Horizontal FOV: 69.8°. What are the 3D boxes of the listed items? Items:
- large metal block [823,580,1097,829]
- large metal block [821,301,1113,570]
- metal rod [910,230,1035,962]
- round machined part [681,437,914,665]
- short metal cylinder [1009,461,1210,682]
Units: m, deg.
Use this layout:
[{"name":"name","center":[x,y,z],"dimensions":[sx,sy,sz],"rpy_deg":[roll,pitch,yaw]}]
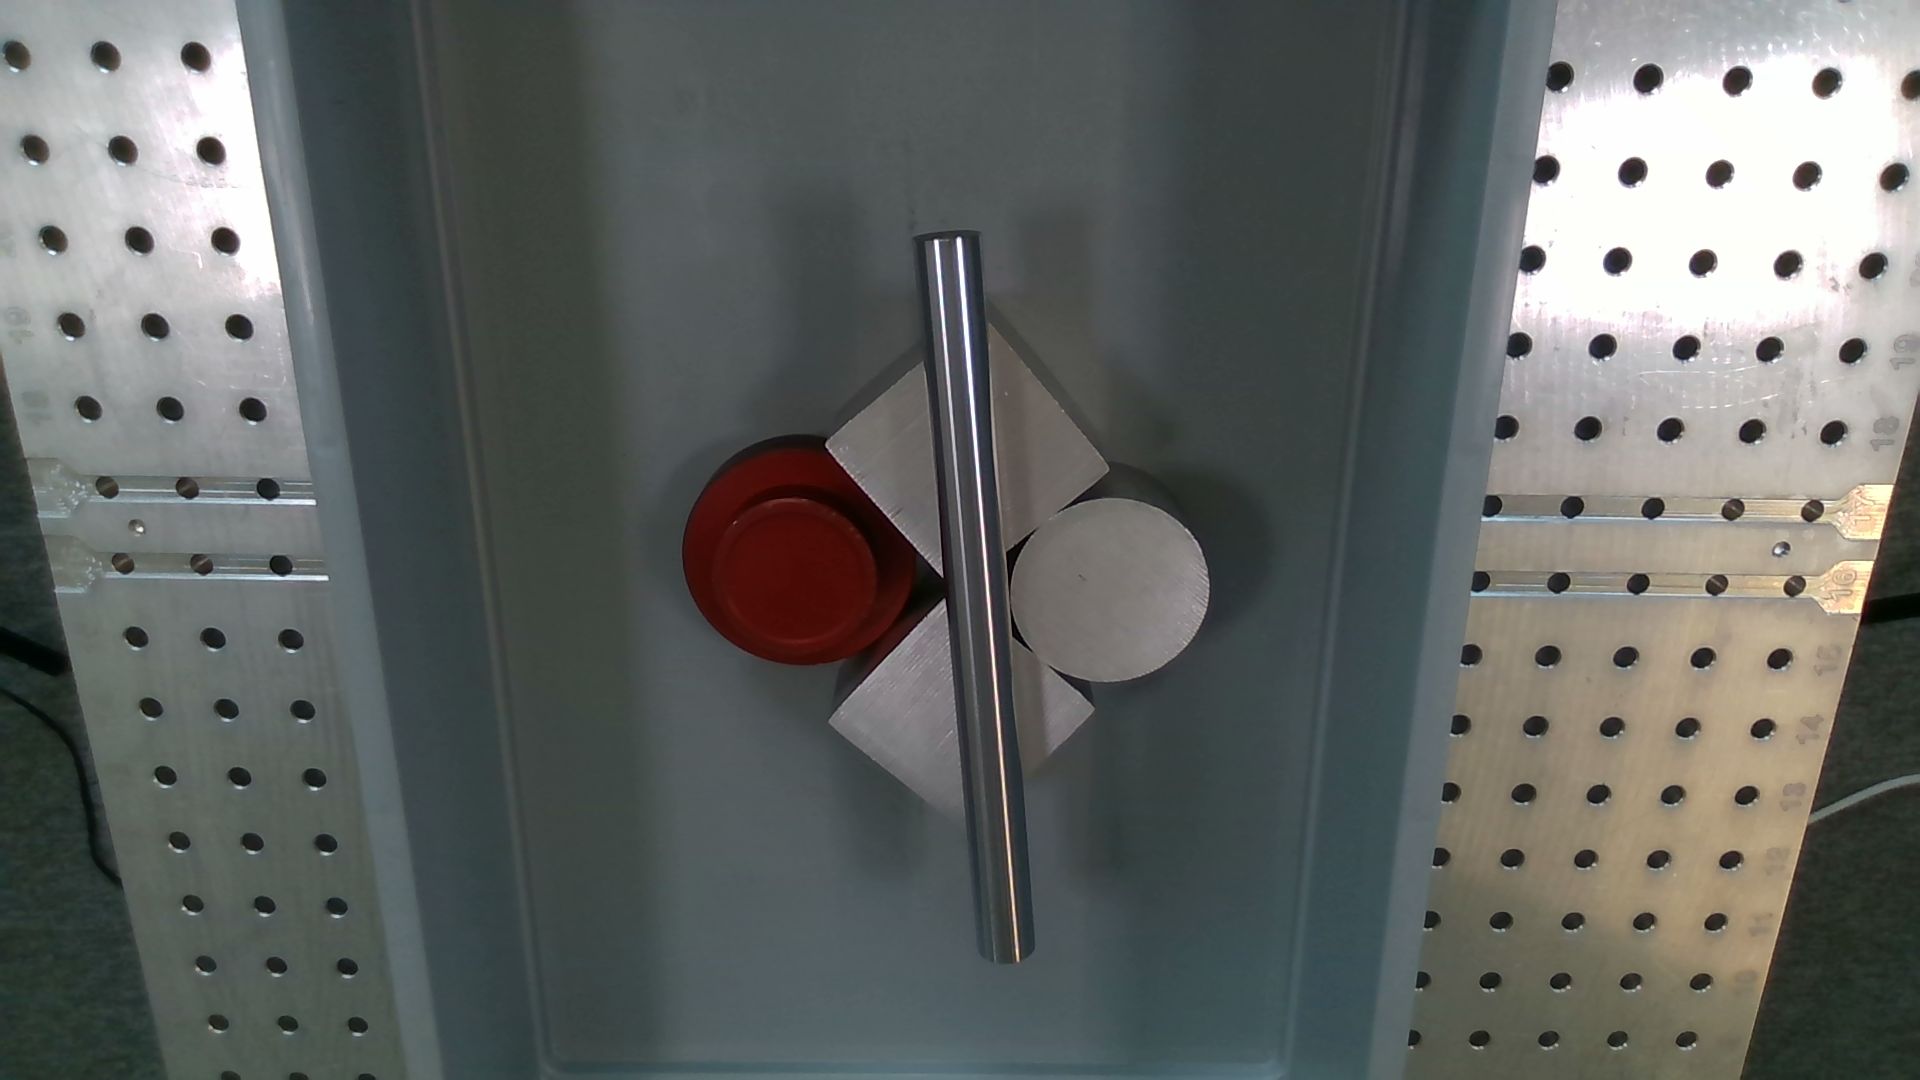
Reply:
[{"name":"large metal block","center":[0.000,0.065,0.592],"dimensions":[0.080,0.050,0.080],"rpy_deg":[41,105,-12]},{"name":"large metal block","center":[0.003,-0.041,0.555],"dimensions":[0.080,0.050,0.080],"rpy_deg":[-37,106,14]},{"name":"metal rod","center":[0.007,0.033,0.541],"dimensions":[0.025,0.025,0.301],"rpy_deg":[-4,110,2]},{"name":"round machined part","center":[-0.068,0.008,0.577],"dimensions":[0.098,0.042,0.098],"rpy_deg":[0,110,0]},{"name":"short metal cylinder","center":[0.060,0.012,0.575],"dimensions":[0.080,0.050,0.080],"rpy_deg":[0,110,0]}]
